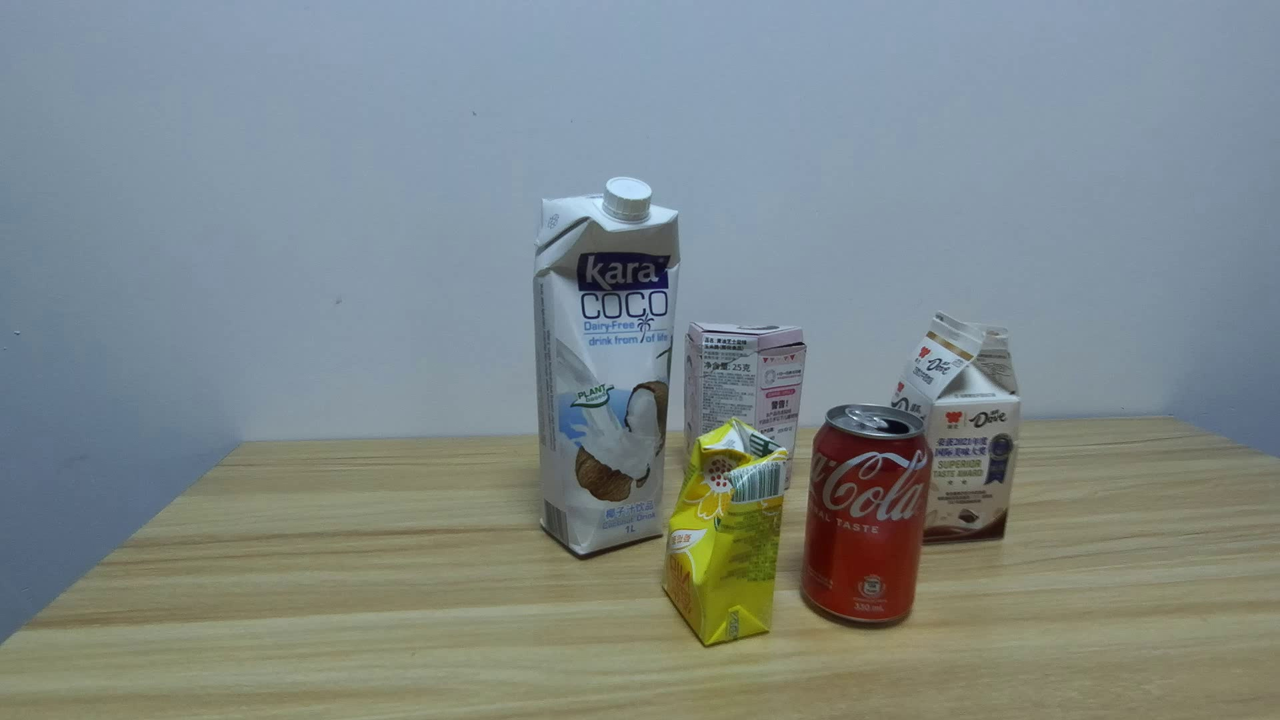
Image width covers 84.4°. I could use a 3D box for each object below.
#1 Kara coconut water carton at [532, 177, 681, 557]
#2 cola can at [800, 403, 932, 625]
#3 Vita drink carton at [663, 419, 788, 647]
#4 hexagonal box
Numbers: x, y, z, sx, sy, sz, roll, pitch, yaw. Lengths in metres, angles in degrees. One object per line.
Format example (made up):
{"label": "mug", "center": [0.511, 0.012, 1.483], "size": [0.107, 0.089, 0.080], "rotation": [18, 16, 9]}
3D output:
{"label": "Kara coconut water carton", "center": [-0.021, 0.004, 0.479], "size": [0.100, 0.244, 0.071], "rotation": [-9, 17, -31]}
{"label": "cola can", "center": [0.131, 0.088, 0.414], "size": [0.068, 0.120, 0.068], "rotation": [2, 15, 0]}
{"label": "Vita drink carton", "center": [0.045, 0.095, 0.402], "size": [0.046, 0.109, 0.071], "rotation": [-2, 13, -20]}
{"label": "hexagonal box", "center": [0.082, 0.036, 0.574], "size": [0.092, 0.135, 0.084], "rotation": [-11, 19, -36]}
